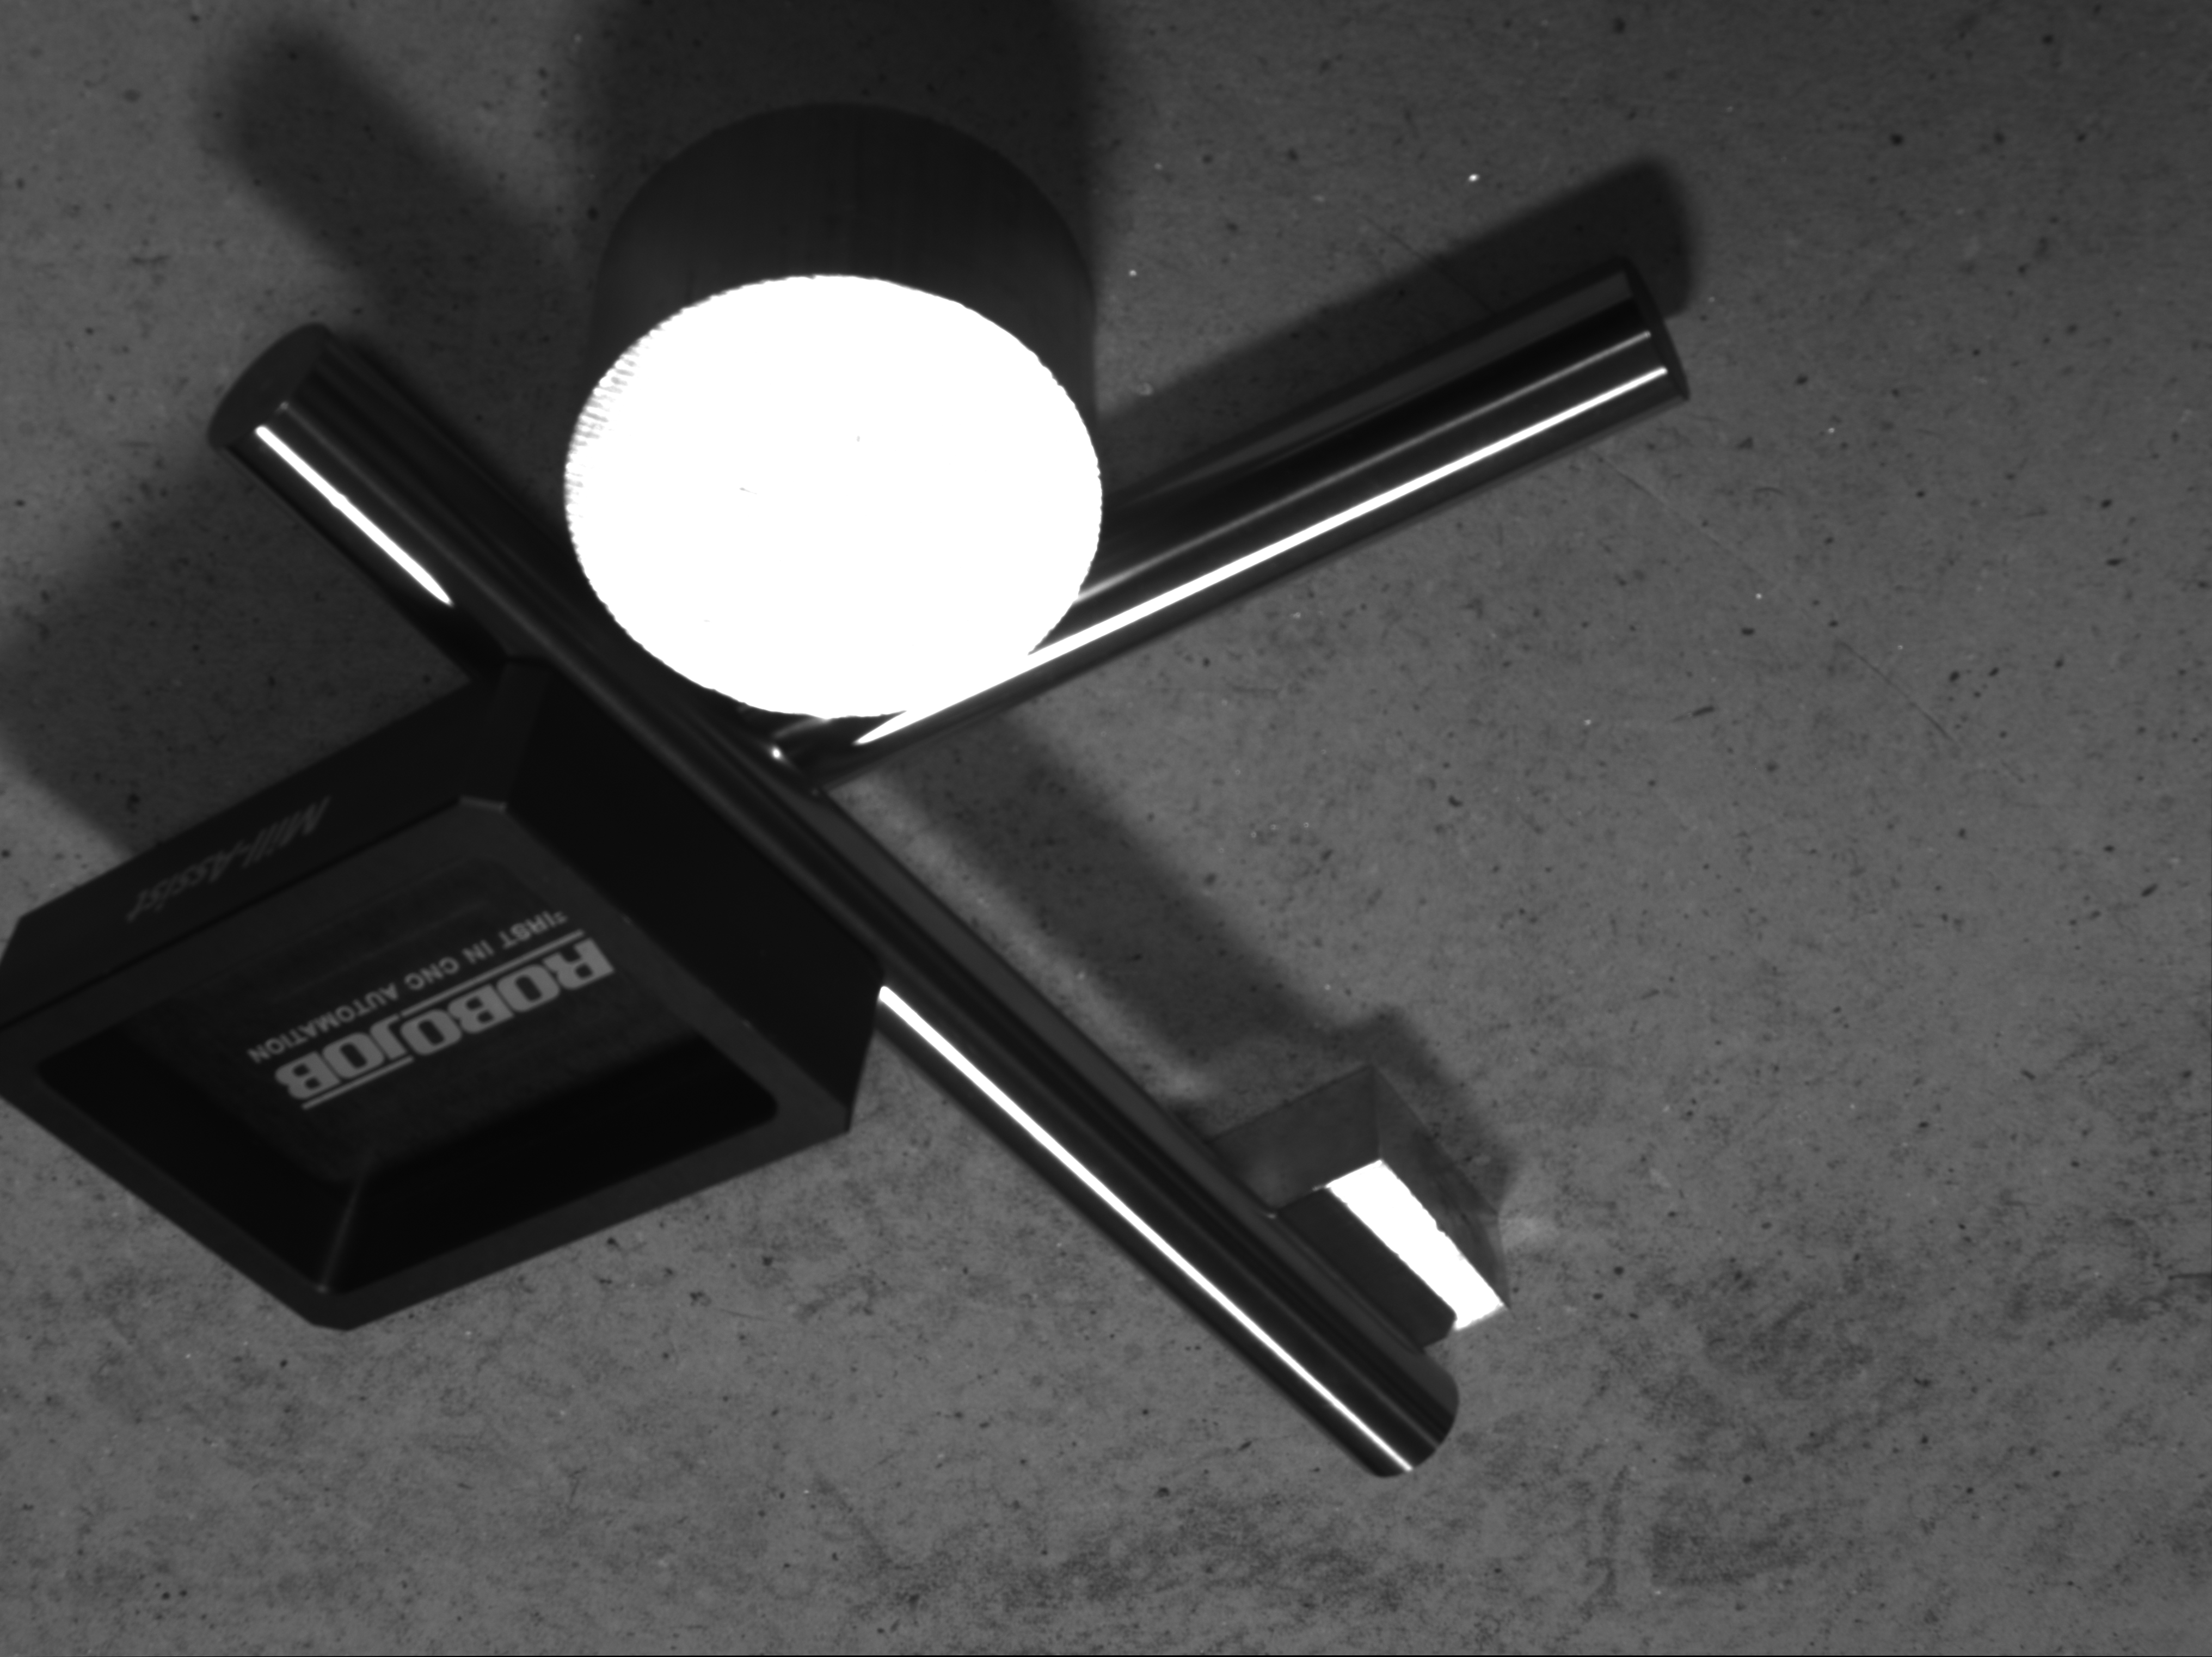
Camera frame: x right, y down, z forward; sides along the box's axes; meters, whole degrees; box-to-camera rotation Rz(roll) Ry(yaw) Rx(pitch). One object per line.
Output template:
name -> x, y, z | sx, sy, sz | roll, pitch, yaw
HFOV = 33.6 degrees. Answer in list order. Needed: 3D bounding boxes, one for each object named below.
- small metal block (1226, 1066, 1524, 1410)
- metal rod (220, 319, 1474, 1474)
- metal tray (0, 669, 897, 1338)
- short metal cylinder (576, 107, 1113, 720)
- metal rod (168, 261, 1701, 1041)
small metal block -> 0.045, 0.080, 0.706 | 0.050, 0.025, 0.050 | -27, 126, 19
metal rod -> -0.032, 0.023, 0.625 | 0.025, 0.025, 0.301 | -31, 124, 22
metal tray -> -0.112, 0.033, 0.609 | 0.130, 0.030, 0.090 | -24, 127, 32
short metal cylinder -> -0.039, -0.064, 0.567 | 0.080, 0.050, 0.080 | -1, 130, -1
metal rod -> -0.043, -0.021, 0.620 | 0.300, 0.025, 0.025 | -24, 127, 17
